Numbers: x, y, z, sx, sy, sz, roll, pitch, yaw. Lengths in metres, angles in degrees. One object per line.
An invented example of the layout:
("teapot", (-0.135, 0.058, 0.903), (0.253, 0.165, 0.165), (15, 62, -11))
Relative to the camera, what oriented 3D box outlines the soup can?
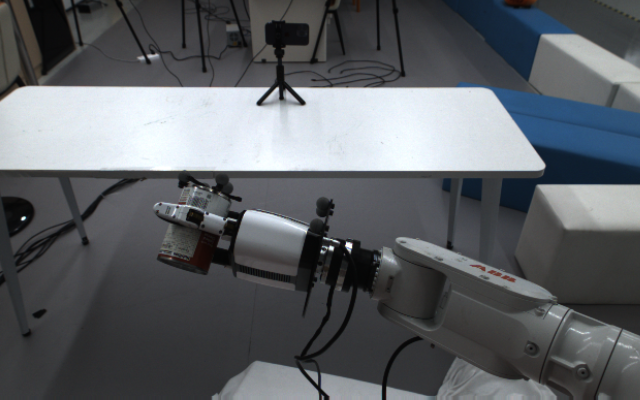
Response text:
("soup can", (-0.161, 0.040, 0.630), (0.067, 0.067, 0.101), (11, 72, 13))
